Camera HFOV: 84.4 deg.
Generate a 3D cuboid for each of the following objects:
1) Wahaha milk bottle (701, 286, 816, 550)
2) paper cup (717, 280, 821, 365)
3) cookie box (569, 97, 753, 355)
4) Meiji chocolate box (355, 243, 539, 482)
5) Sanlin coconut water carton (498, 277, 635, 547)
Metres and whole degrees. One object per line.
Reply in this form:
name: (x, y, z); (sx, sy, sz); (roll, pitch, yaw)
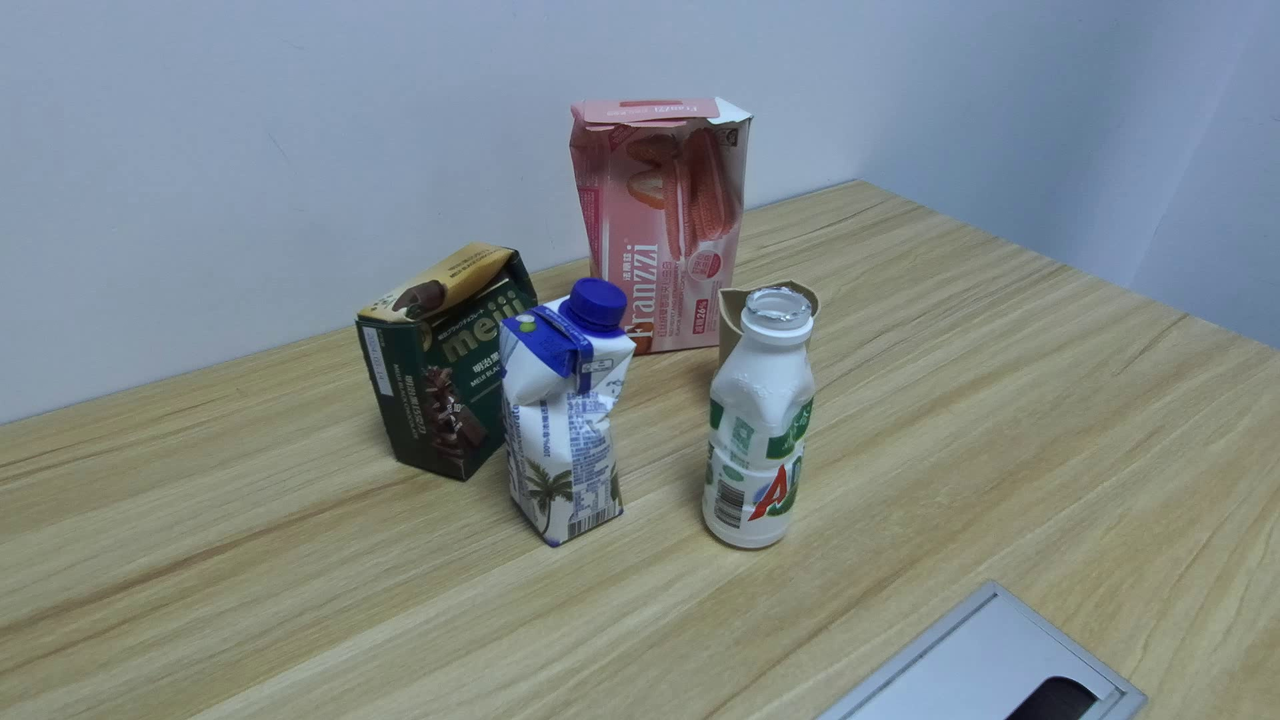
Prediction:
Wahaha milk bottle: (0.063, 0.032, 0.372); (0.055, 0.149, 0.055); (0, 35, 0)
paper cup: (0.090, -0.006, 0.507); (0.071, 0.084, 0.066); (-1, -11, 21)
cookie box: (0.013, -0.090, 0.516); (0.118, 0.184, 0.055); (-4, 34, -5)
Meiji chocolate box: (-0.119, -0.001, 0.460); (0.058, 0.111, 0.113); (7, 33, 16)
Sanlin coconut water carton: (-0.040, 0.029, 0.382); (0.070, 0.144, 0.060); (-20, 41, -29)
